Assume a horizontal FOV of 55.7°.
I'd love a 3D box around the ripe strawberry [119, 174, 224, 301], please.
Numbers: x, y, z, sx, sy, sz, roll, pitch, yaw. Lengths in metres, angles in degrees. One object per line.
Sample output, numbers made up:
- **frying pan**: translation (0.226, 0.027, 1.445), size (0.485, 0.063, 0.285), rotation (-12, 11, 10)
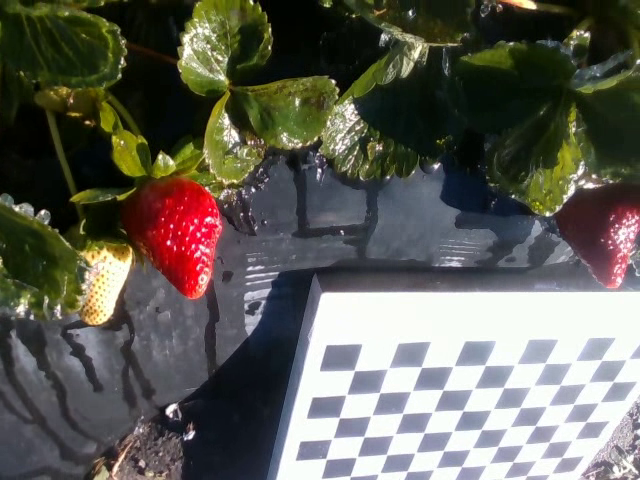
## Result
- **ripe strawberry**: translation (-0.064, 0.003, 0.280), size (0.042, 0.061, 0.046), rotation (-10, -3, -8)
